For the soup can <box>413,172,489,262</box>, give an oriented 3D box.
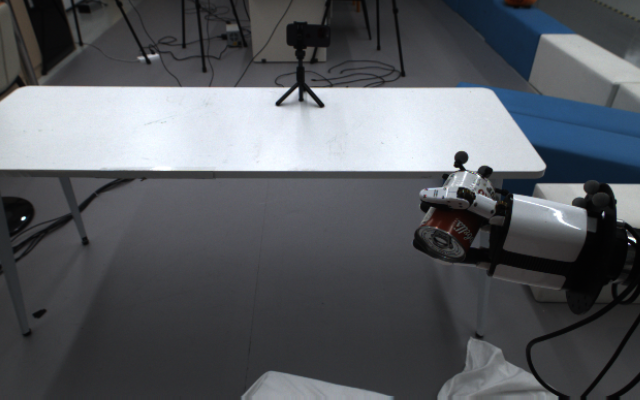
[{"bbox_3d":[0.176,0.018,0.615,0.067,0.067,0.101,22,60,26],"label":"soup can"}]
